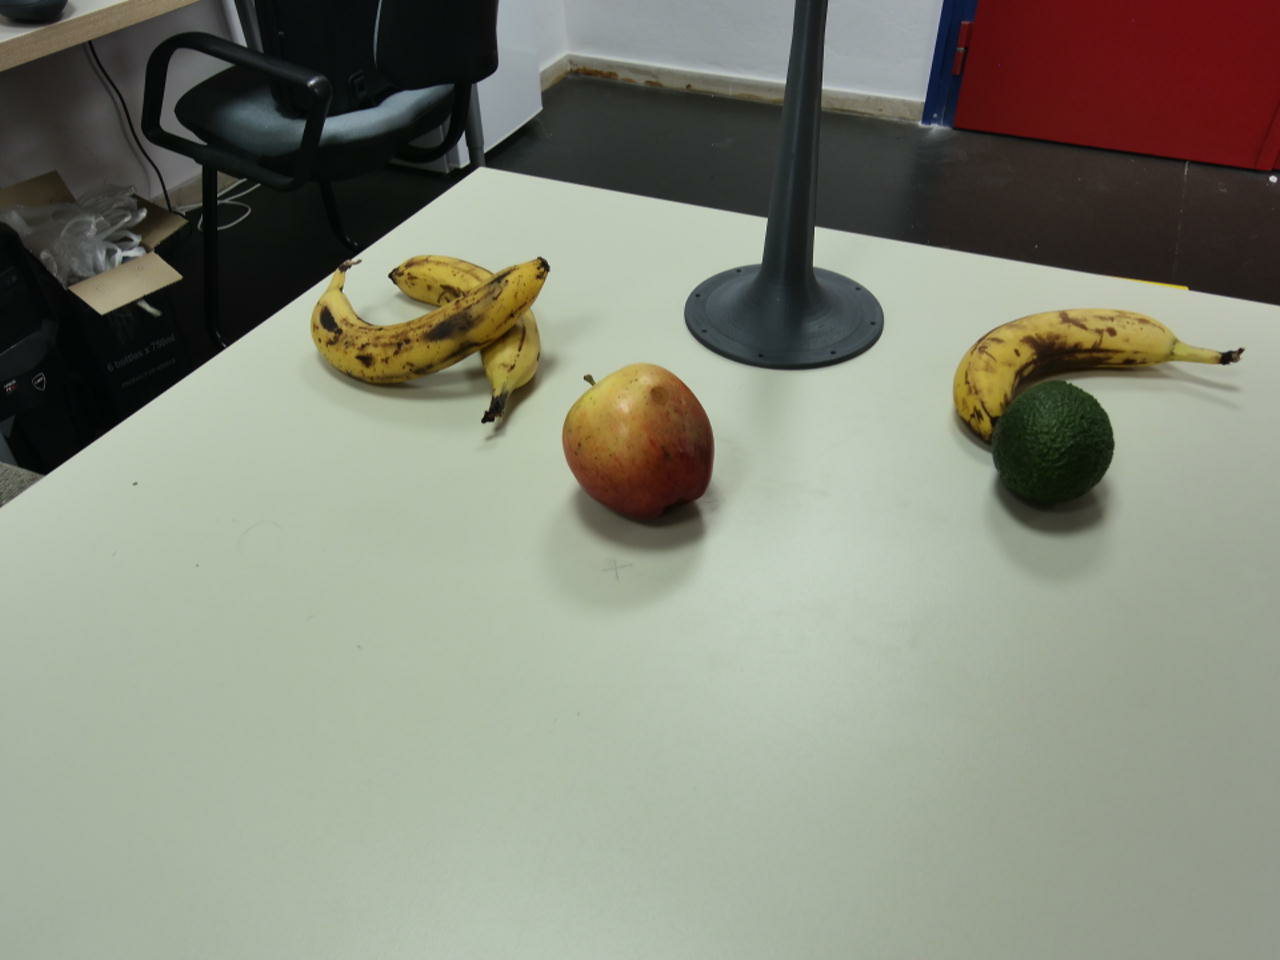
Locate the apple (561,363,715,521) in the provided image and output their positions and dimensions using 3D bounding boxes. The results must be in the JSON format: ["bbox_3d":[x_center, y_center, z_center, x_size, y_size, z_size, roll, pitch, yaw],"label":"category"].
[{"bbox_3d":[-0.001,-0.023,0.576,0.086,0.084,0.093,-9,39,-8],"label":"apple"}]
